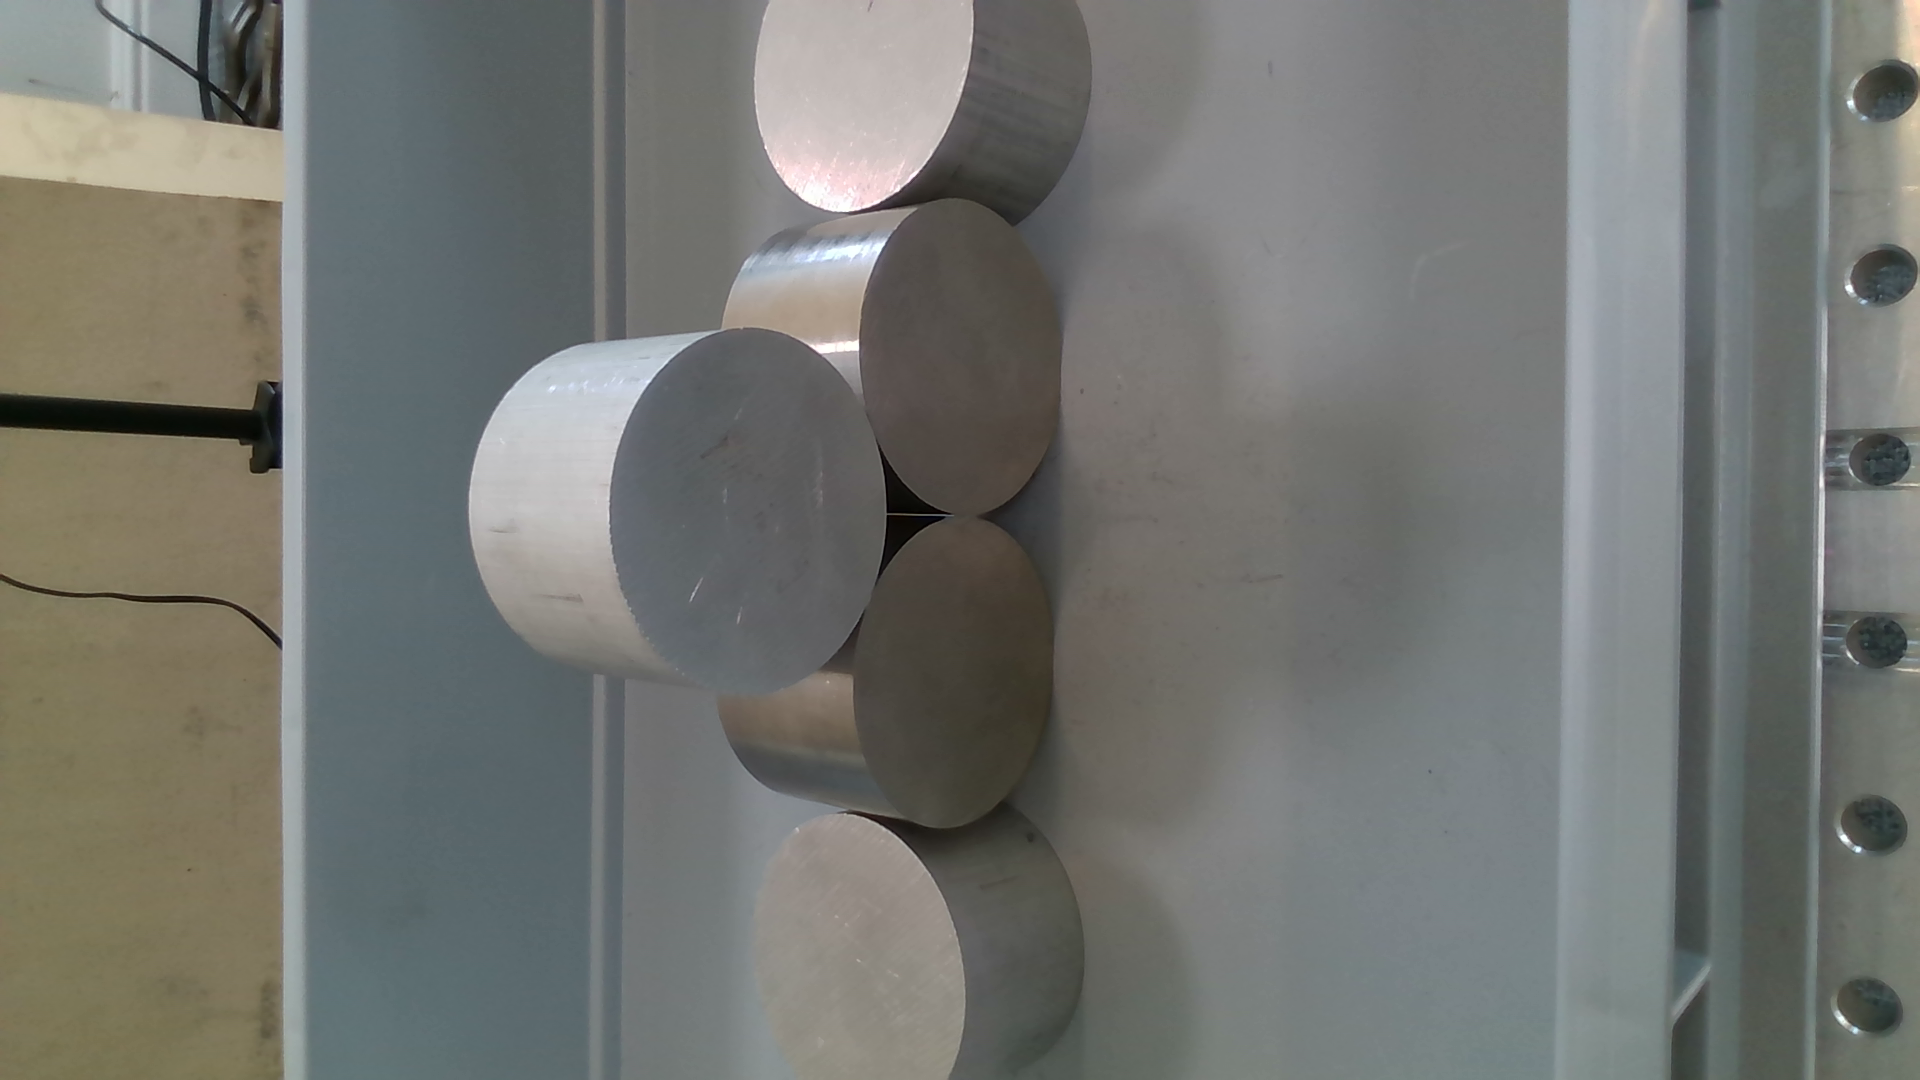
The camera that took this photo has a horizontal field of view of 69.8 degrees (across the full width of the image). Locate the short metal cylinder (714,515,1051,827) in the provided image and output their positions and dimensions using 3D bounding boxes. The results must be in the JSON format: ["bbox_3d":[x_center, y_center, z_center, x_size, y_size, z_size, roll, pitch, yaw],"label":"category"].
[{"bbox_3d":[-0.019,0.033,0.370,0.050,0.080,0.080,2,92,40],"label":"short metal cylinder"}]

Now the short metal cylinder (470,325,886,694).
[{"bbox_3d":[-0.063,-0.007,0.316,0.050,0.080,0.080,2,92,40],"label":"short metal cylinder"}]

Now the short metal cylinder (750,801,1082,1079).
[{"bbox_3d":[-0.013,0.112,0.385,0.080,0.050,0.080,0,91,40],"label":"short metal cylinder"}]

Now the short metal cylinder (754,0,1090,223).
[{"bbox_3d":[-0.011,-0.128,0.381,0.080,0.050,0.080,0,91,40],"label":"short metal cylinder"}]

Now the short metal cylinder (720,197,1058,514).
[{"bbox_3d":[-0.018,-0.047,0.367,0.050,0.080,0.080,2,92,40],"label":"short metal cylinder"}]
